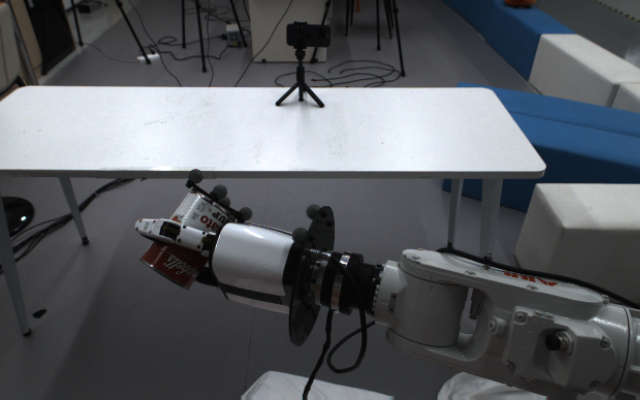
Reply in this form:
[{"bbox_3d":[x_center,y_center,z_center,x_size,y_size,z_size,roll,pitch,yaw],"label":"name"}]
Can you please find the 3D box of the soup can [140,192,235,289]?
[{"bbox_3d":[-0.157,0.048,0.580,0.067,0.067,0.101,25,73,29],"label":"soup can"}]
